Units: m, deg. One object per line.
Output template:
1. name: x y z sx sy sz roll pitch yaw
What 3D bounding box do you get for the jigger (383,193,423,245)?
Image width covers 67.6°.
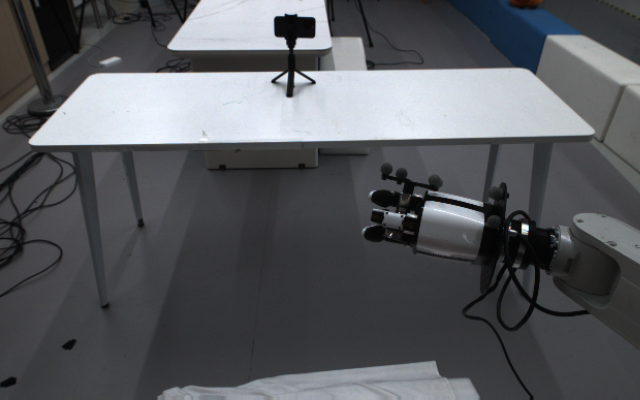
1. jigger: 0.122 0.024 0.709 0.043 0.071 0.043 14 1 0
